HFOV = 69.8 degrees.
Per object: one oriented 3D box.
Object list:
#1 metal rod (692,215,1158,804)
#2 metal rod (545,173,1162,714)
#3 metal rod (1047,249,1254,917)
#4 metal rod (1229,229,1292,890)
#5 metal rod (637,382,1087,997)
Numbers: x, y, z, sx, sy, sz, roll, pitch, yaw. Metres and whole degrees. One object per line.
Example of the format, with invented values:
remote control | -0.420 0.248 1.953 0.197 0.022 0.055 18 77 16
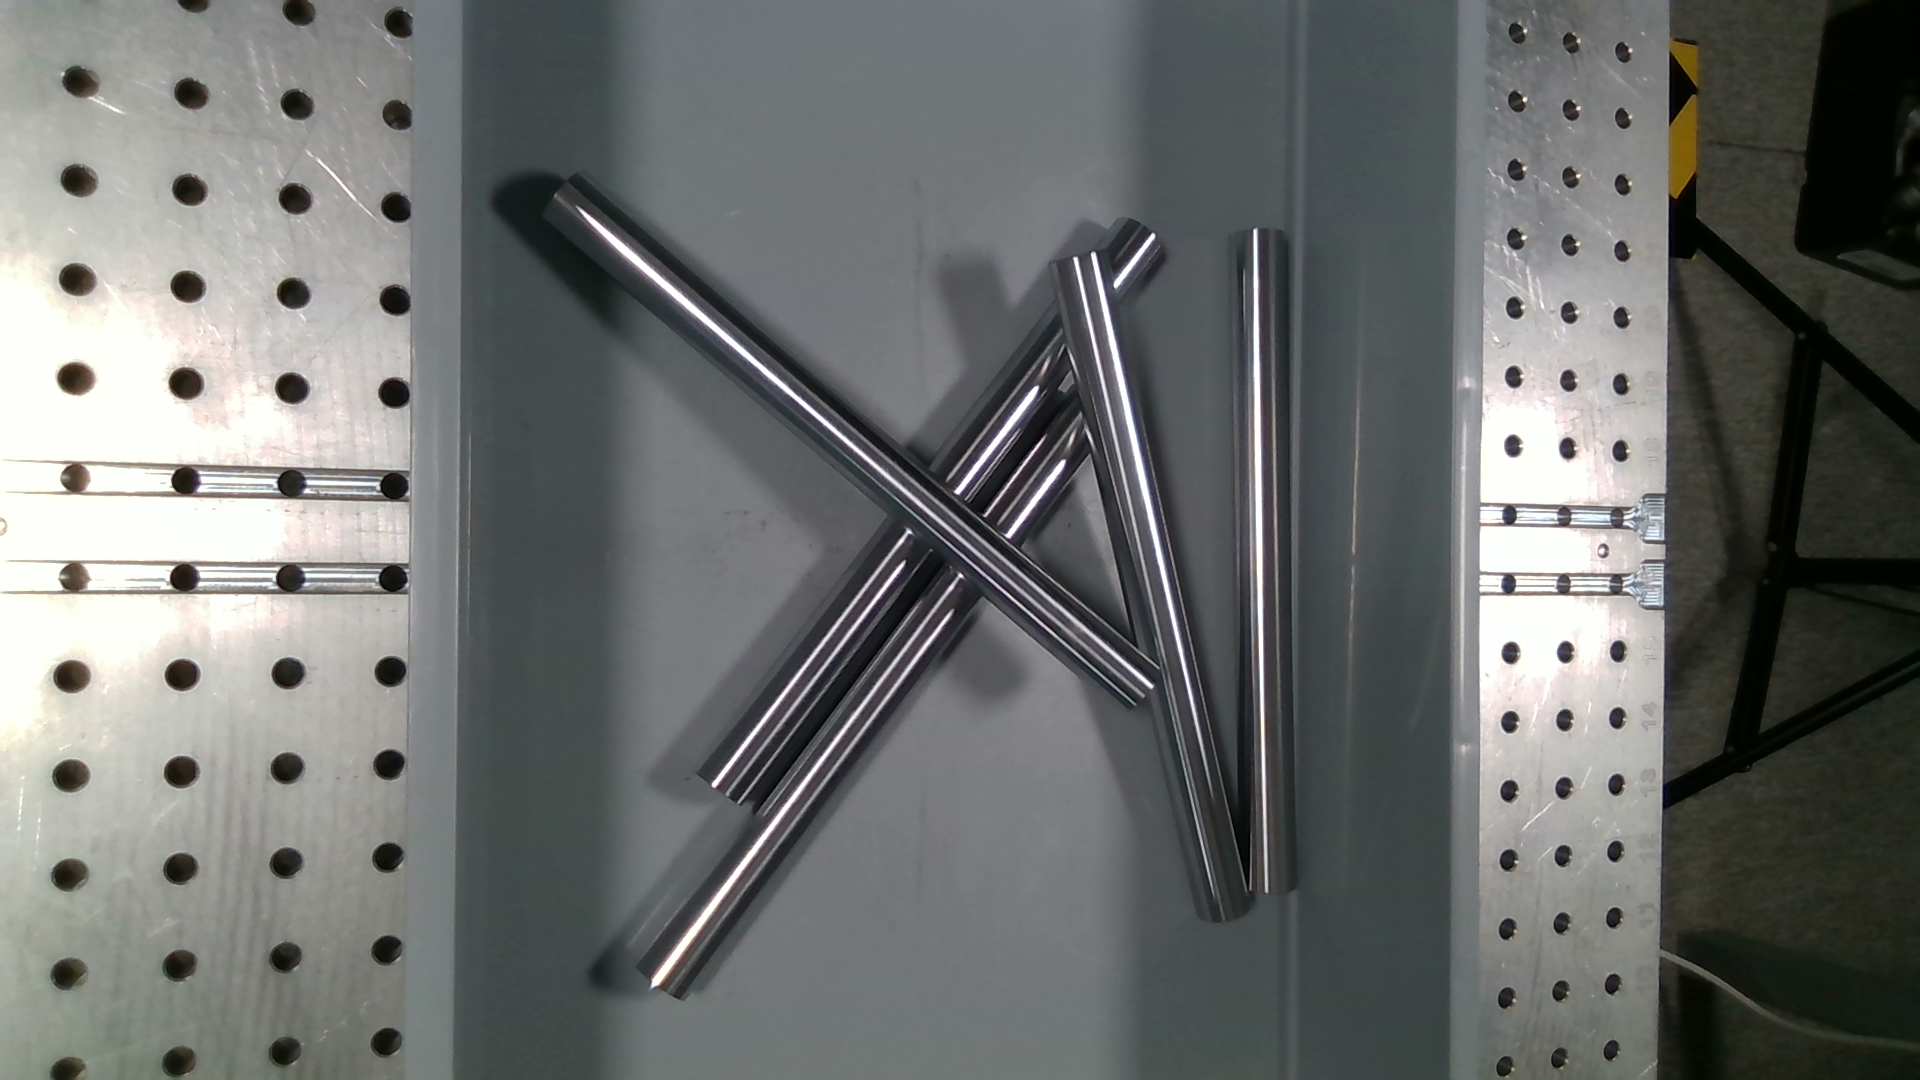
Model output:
metal rod | -0.009 -0.019 0.582 0.025 0.025 0.300 40 77 -16
metal rod | -0.038 -0.035 0.549 0.300 0.025 0.025 40 77 -8
metal rod | 0.086 0.025 0.601 0.025 0.025 0.300 -19 103 -19
metal rod | 0.139 0.009 0.637 0.025 0.025 0.300 -1 91 -20
metal rod | -0.030 0.056 0.575 0.025 0.025 0.300 40 77 -16
